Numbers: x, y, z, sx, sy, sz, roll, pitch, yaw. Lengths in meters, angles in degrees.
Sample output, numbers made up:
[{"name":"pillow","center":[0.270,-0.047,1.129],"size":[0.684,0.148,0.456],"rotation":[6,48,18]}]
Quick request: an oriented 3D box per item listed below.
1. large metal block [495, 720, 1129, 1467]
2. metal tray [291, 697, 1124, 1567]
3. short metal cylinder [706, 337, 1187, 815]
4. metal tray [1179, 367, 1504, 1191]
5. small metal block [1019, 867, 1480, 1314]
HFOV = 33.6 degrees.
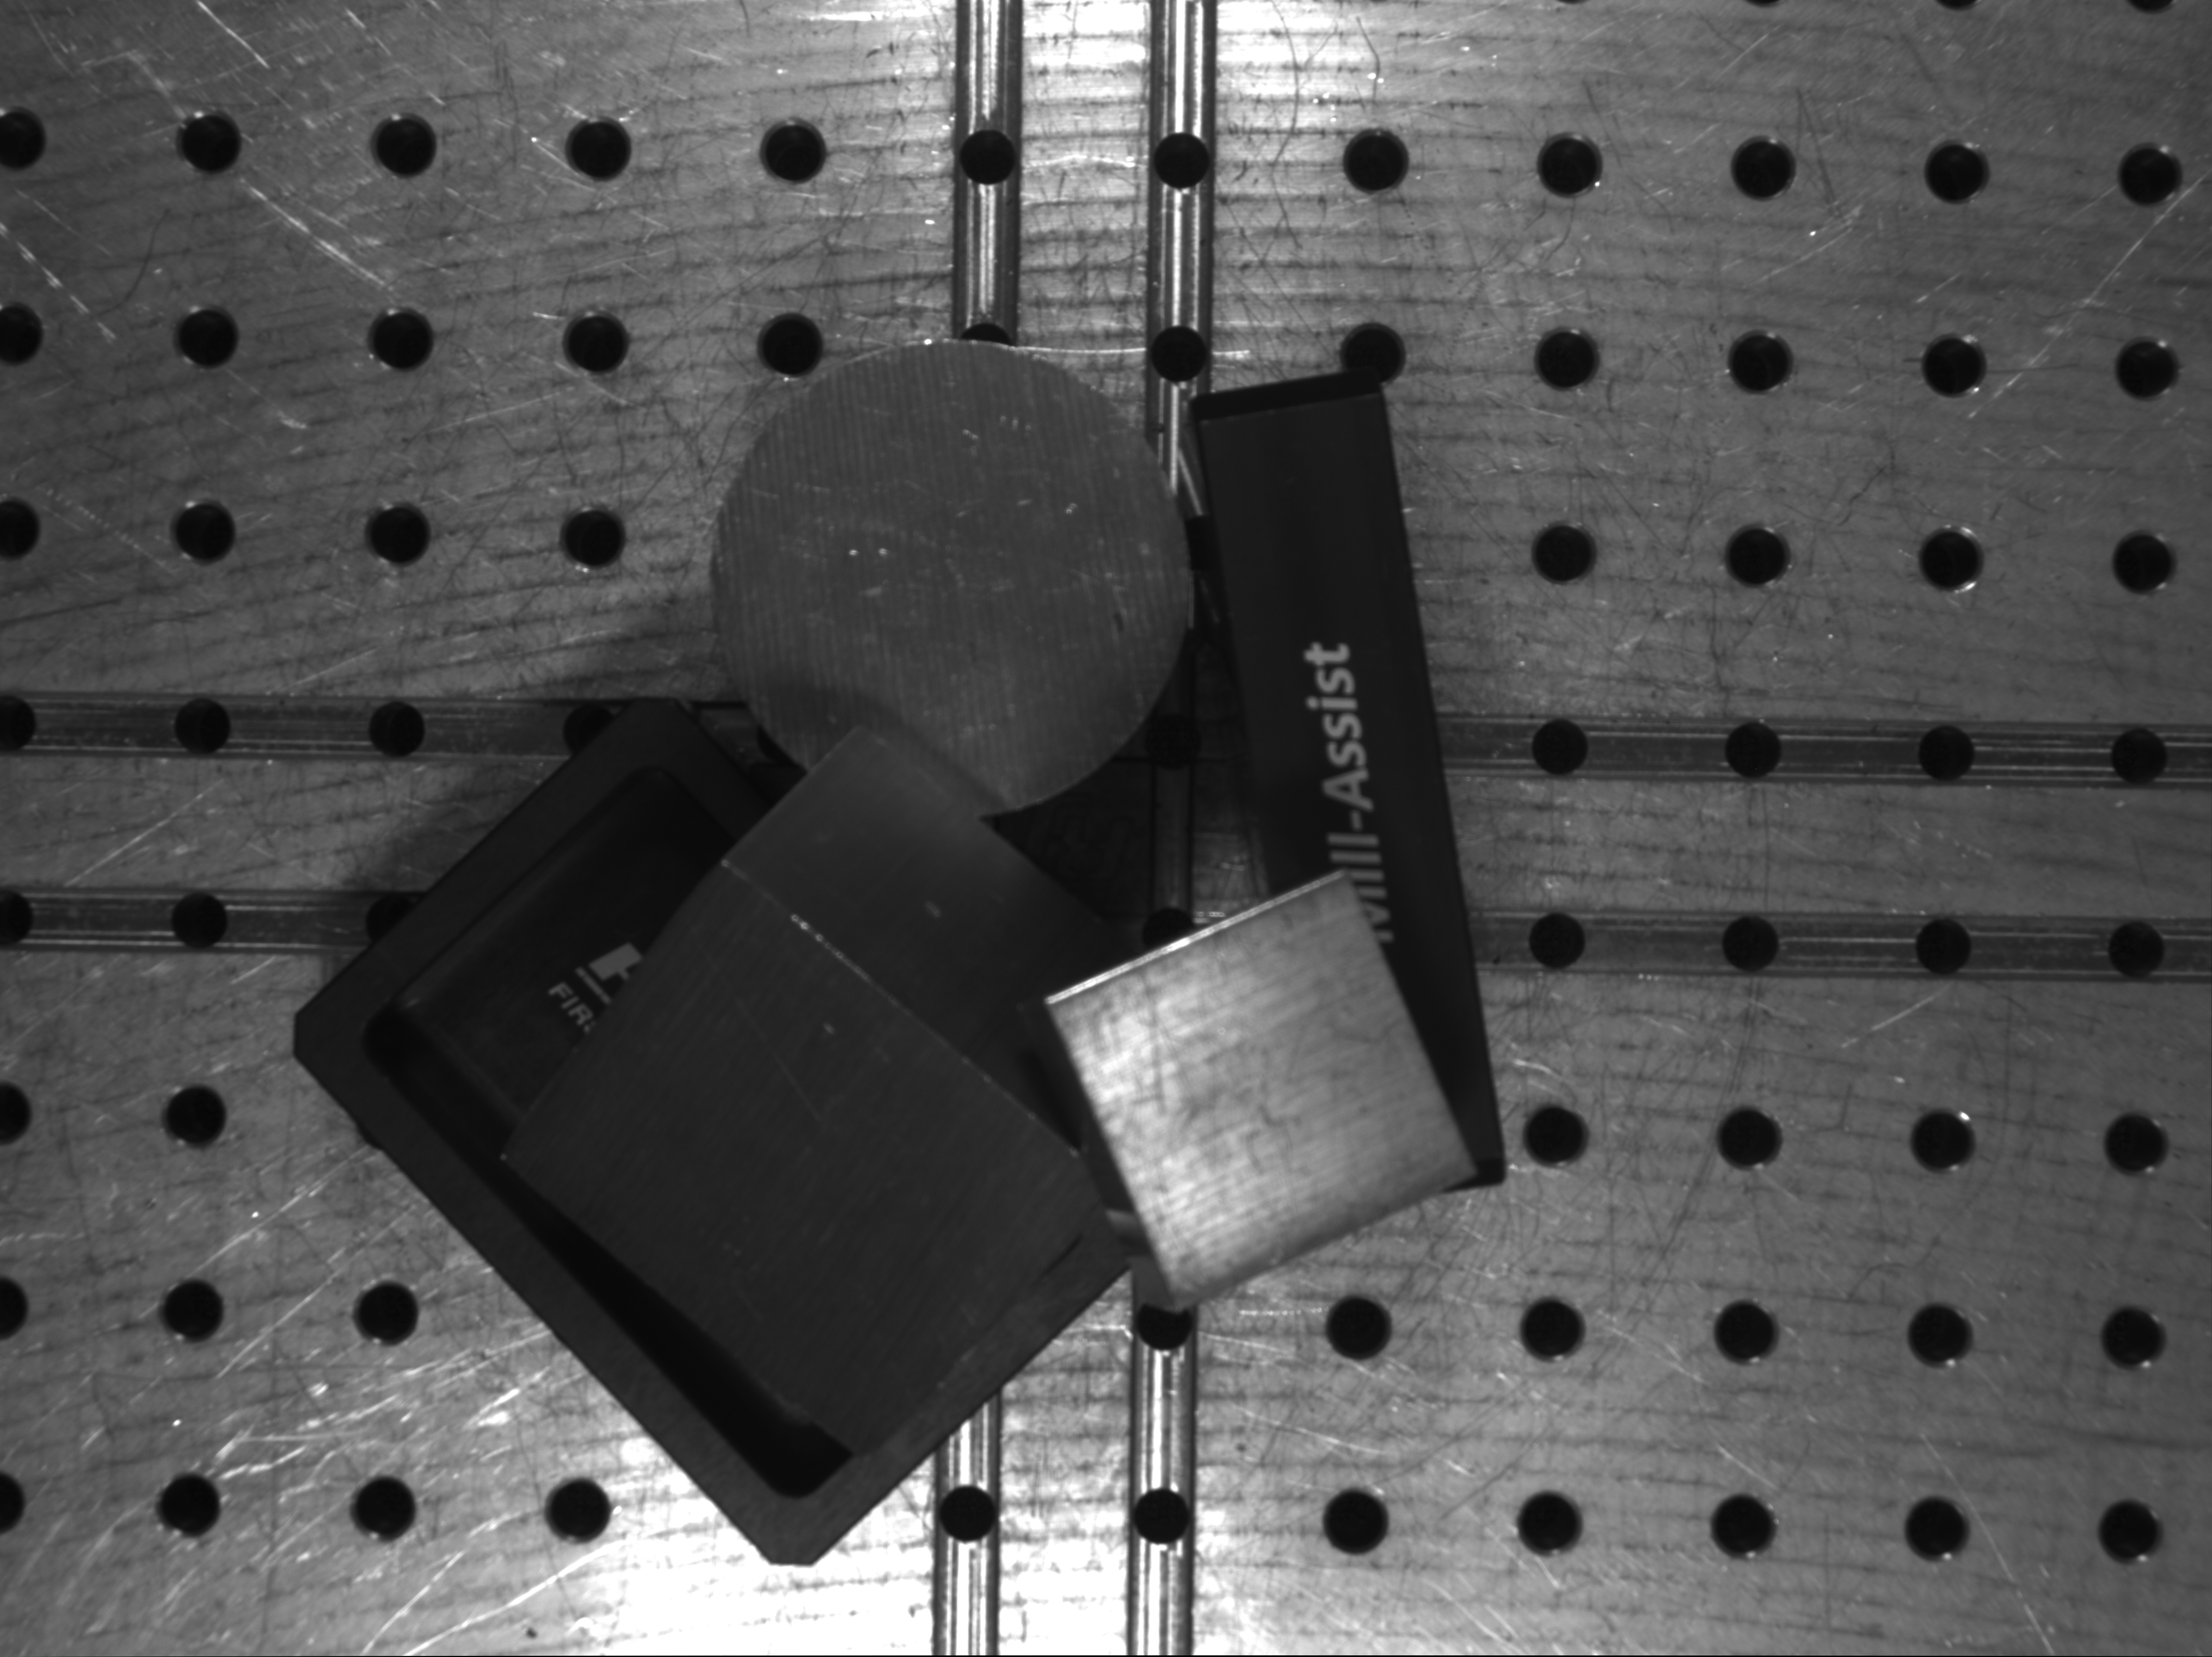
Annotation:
[{"name":"large metal block","center":[-0.040,0.044,0.603],"size":[0.080,0.050,0.080],"rotation":[40,125,-1]},{"name":"metal tray","center":[-0.066,0.052,0.643],"size":[0.090,0.030,0.130],"rotation":[-43,90,0]},{"name":"short metal cylinder","center":[-0.027,-0.042,0.635],"size":[0.080,0.050,0.080],"rotation":[0,90,0]},{"name":"metal tray","center":[0.038,-0.006,0.615],"size":[0.030,0.090,0.130],"rotation":[-9,90,0]},{"name":"small metal block","center":[0.021,0.039,0.553],"size":[0.050,0.025,0.050],"rotation":[-23,91,-12]}]
